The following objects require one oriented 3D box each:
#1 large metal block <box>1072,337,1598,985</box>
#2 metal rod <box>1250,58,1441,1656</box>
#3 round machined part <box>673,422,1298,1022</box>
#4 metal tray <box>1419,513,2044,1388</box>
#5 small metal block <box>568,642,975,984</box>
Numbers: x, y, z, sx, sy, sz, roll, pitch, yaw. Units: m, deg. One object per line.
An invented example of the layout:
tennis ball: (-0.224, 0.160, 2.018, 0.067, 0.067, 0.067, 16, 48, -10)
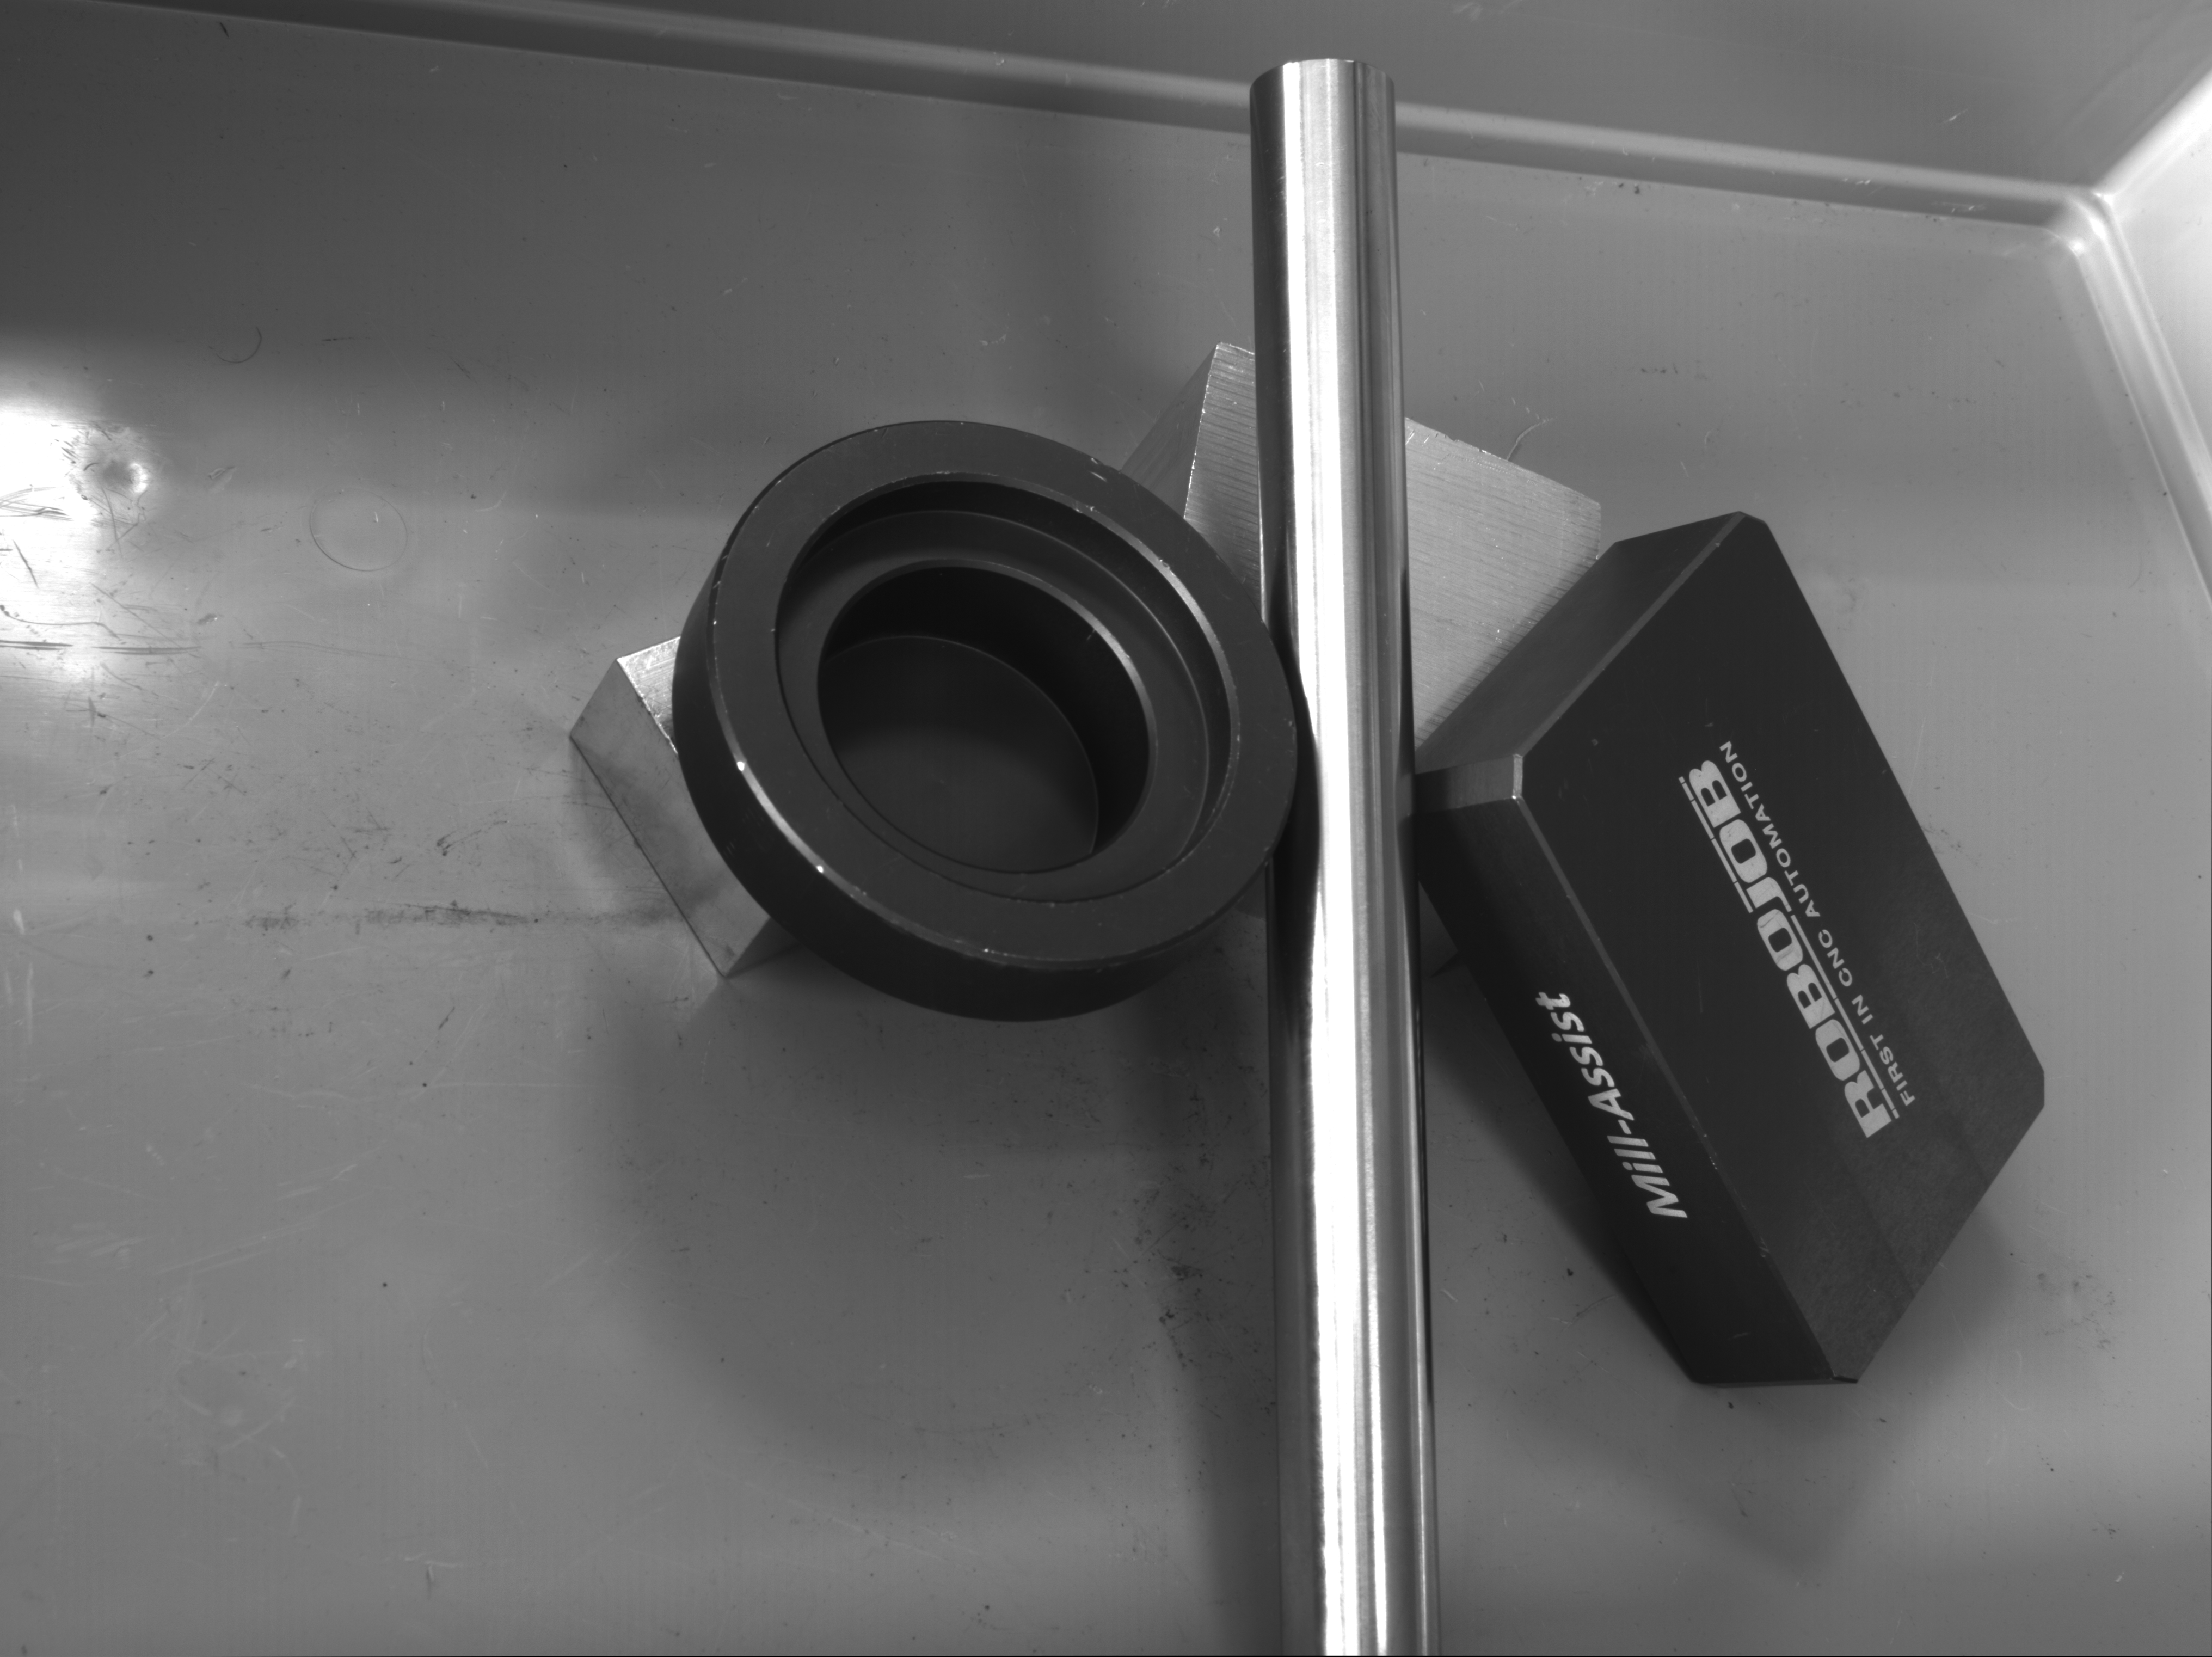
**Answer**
large metal block: (0.039, -0.029, 0.661, 0.080, 0.050, 0.080, 21, 54, -16)
metal rod: (0.038, 0.019, 0.596, 0.025, 0.025, 0.300, 6, 75, -25)
round machined part: (-0.022, -0.013, 0.588, 0.098, 0.042, 0.098, 11, 58, -19)
metal tray: (0.111, 0.022, 0.648, 0.090, 0.030, 0.130, -44, 112, -38)
small metal block: (-0.053, -0.009, 0.616, 0.050, 0.025, 0.050, -24, 75, -36)
